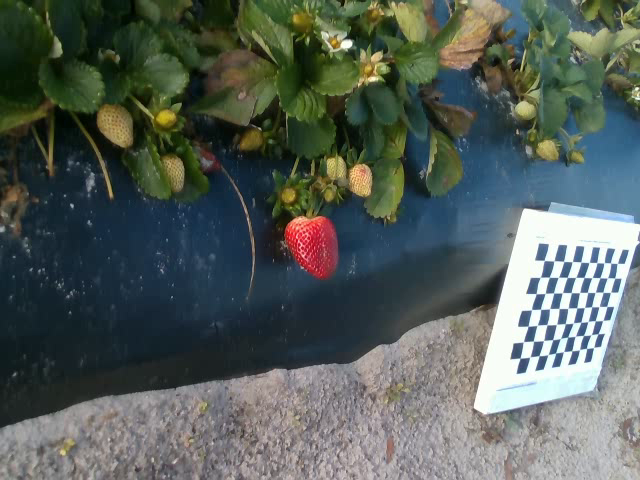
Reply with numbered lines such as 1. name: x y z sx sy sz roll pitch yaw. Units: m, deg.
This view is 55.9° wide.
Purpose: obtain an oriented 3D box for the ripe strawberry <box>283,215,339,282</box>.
1. ripe strawberry: -0.005 0.008 0.571 0.052 0.068 0.044 -2 -27 -38
